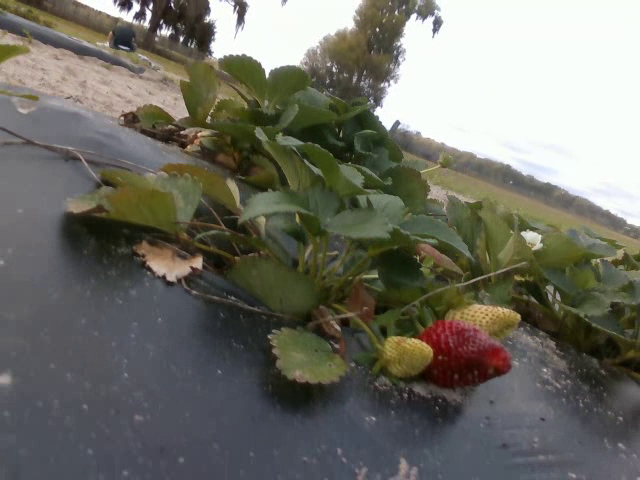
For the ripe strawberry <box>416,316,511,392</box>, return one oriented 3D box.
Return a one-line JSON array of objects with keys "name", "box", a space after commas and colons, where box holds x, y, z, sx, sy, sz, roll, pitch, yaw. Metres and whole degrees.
[{"name": "ripe strawberry", "box": [0.078, 0.062, 0.313, 0.046, 0.046, 0.059, 6, -8, -30]}]
